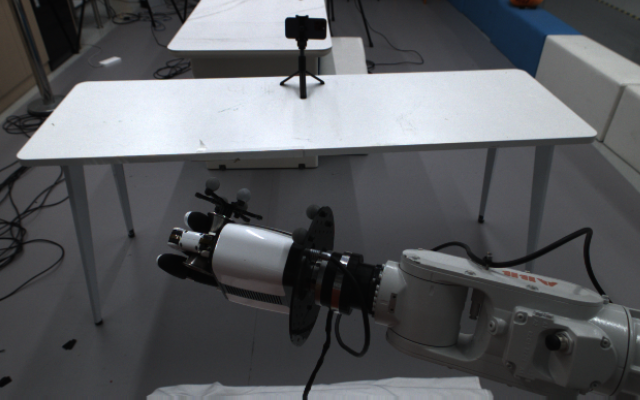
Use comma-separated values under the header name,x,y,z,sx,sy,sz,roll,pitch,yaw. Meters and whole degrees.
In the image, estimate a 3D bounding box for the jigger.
name,x,y,z,sx,sy,sz,roll,pitch,yaw
jigger,-0.128,0.052,0.579,0.043,0.043,0.071,15,71,18
